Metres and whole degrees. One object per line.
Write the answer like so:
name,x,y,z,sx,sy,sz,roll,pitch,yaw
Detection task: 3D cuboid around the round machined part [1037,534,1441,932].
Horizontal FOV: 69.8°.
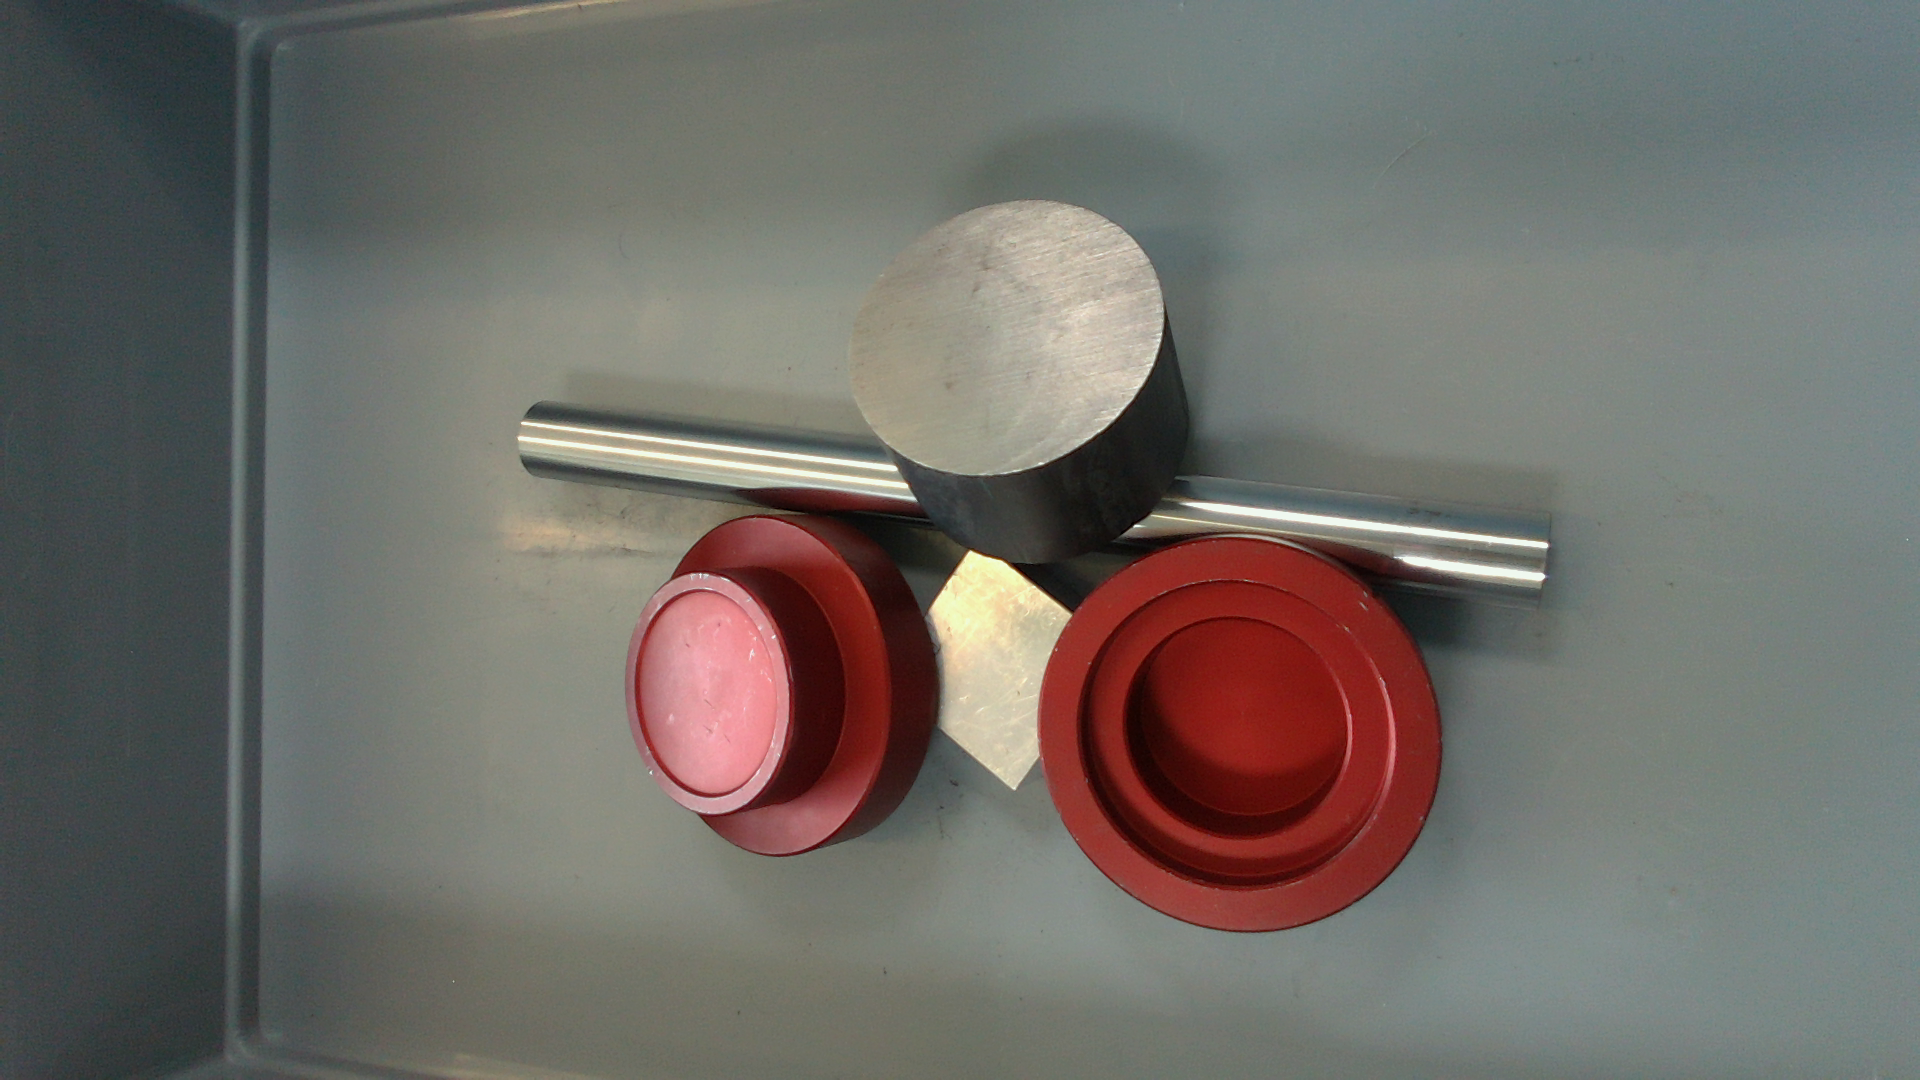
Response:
round machined part,0.072,0.047,0.357,0.098,0.042,0.098,1,93,17

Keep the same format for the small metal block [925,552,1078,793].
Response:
small metal block,0.014,0.034,0.389,0.050,0.025,0.050,38,102,16

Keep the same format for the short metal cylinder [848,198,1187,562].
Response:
short metal cylinder,0.017,-0.041,0.359,0.080,0.050,0.080,-7,63,13

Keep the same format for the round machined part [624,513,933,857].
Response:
round machined part,-0.058,0.041,0.393,0.098,0.042,0.098,1,91,38

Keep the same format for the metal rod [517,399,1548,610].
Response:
metal rod,0.005,-0.014,0.393,0.299,0.025,0.025,8,93,20
